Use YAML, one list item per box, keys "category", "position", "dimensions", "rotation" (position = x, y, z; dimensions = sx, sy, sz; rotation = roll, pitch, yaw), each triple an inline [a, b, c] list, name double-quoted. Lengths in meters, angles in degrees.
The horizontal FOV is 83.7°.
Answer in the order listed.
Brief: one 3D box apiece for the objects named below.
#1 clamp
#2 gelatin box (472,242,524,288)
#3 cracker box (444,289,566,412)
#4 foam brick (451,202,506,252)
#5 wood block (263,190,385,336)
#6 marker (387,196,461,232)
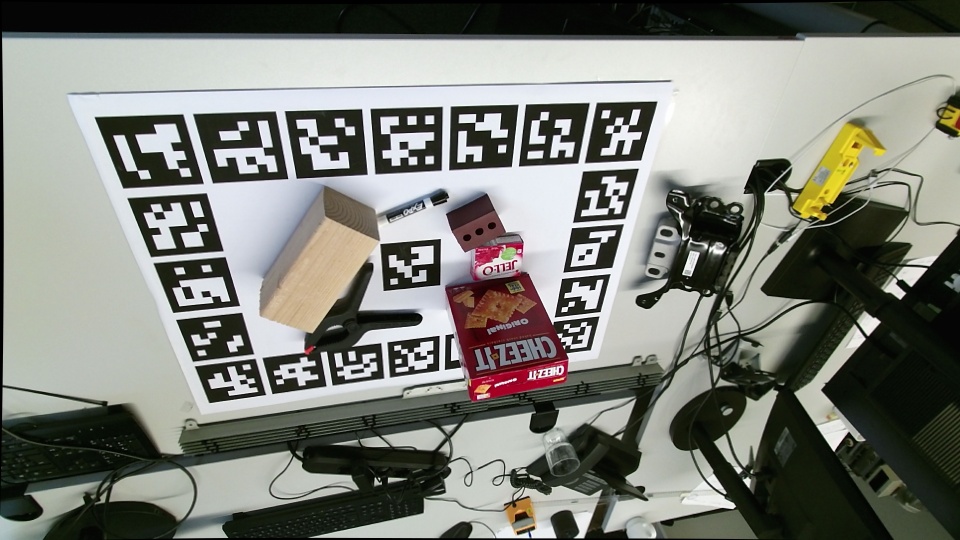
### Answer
- category: "clamp"
  position: [-0.221, 0.101, 0.942]
  dimensions: [0.203, 0.036, 0.166]
  rotation: [-30, 127, 5]
- category: "gelatin box"
  position: [0.031, -0.009, 0.948]
  dimensions: [0.090, 0.030, 0.073]
  rotation: [-6, 124, -13]
- category: "cracker box"
  position: [0.035, 0.130, 0.923]
  dimensions: [0.165, 0.212, 0.072]
  rotation: [-7, 127, -10]
- category: "foam brick"
  position: [0.000, -0.065, 0.881]
  dimensions: [0.078, 0.051, 0.053]
  rotation: [-25, 126, 1]
- category: "wood block"
  position: [-0.243, -0.006, 0.829]
  dimensions: [0.090, 0.090, 0.206]
  rotation: [27, 116, -33]
- category: "marker"
  position: [-0.088, -0.091, 0.854]
  dimensions: [0.121, 0.019, 0.019]
  rotation: [-21, 126, -2]
